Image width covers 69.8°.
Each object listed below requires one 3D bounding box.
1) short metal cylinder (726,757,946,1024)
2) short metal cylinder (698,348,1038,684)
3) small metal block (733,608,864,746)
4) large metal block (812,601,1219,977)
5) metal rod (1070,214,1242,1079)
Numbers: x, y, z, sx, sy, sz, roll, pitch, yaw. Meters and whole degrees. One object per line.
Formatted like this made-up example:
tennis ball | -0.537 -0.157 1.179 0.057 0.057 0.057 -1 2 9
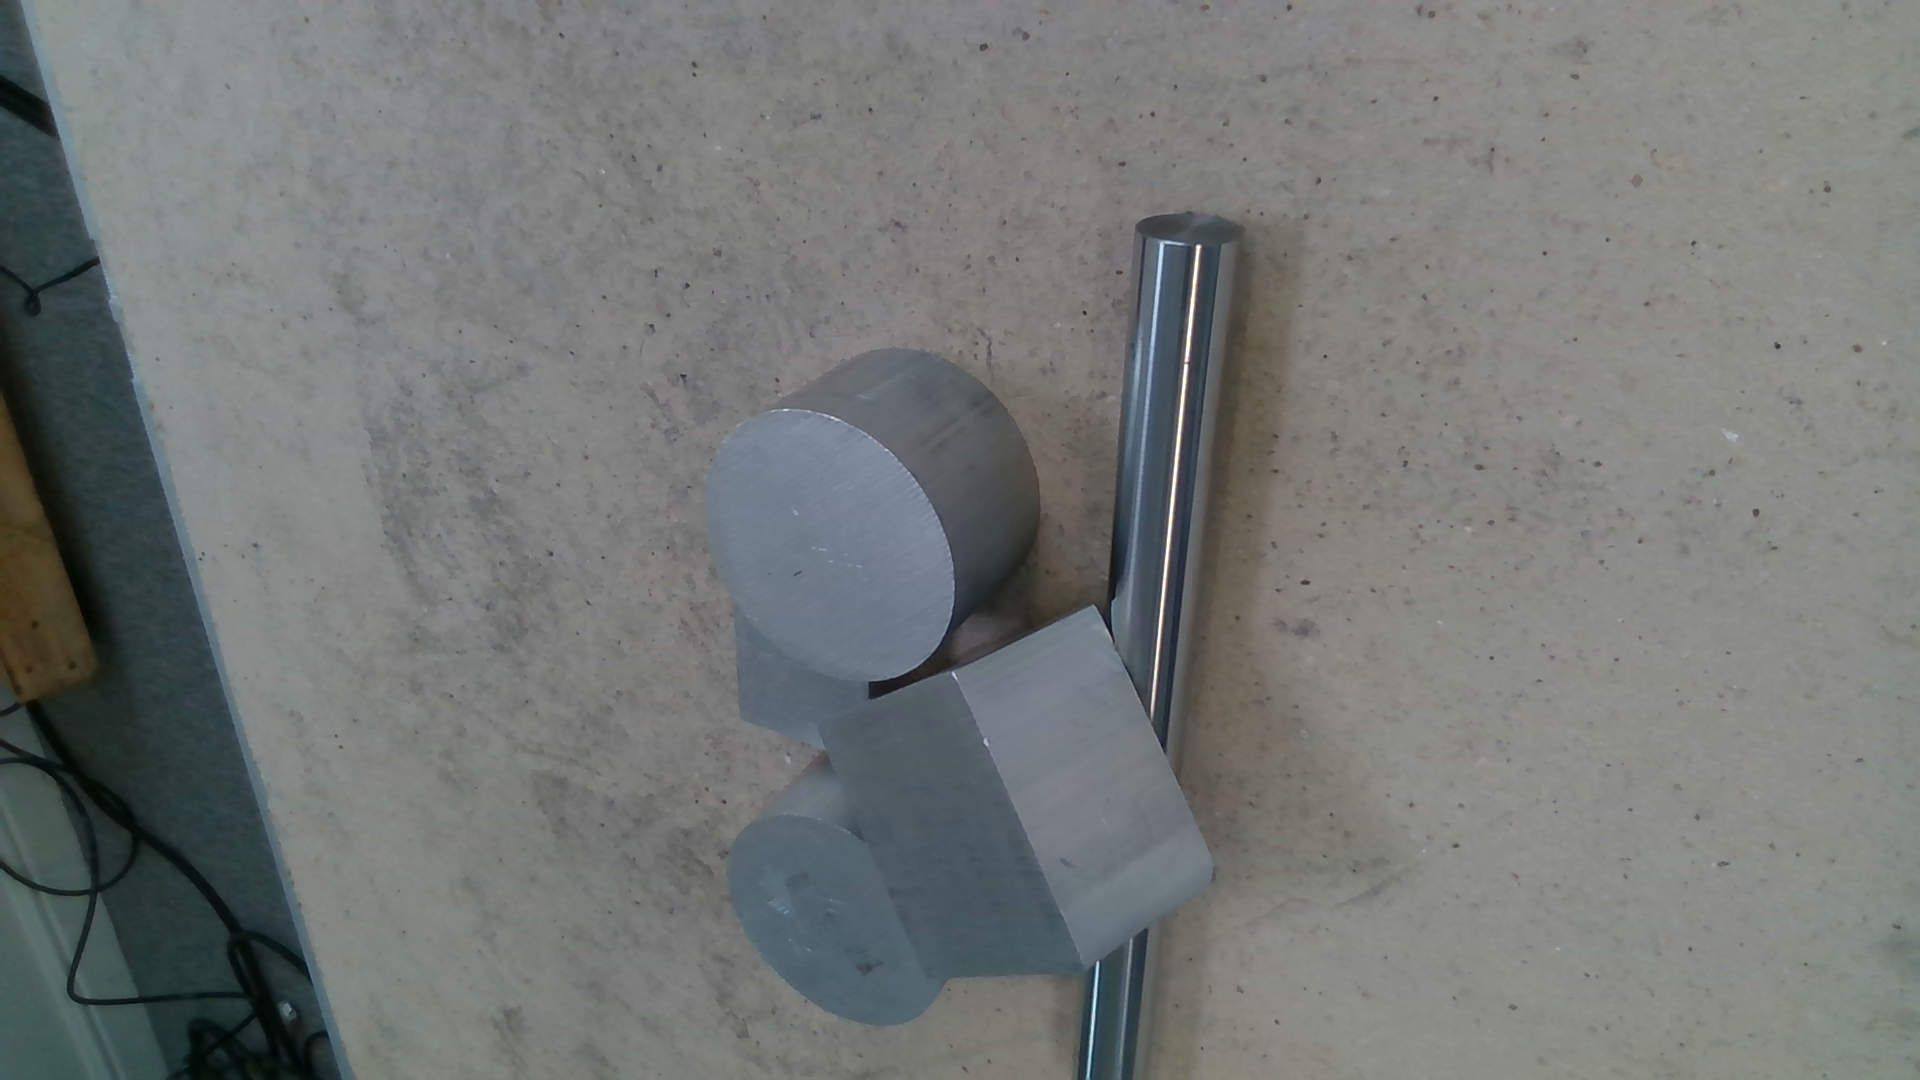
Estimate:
short metal cylinder | -0.029 0.109 0.450 0.080 0.050 0.080 15 122 25
short metal cylinder | -0.025 -0.007 0.384 0.080 0.050 0.080 15 122 25
small metal block | -0.044 0.037 0.437 0.050 0.025 0.050 16 123 24
large metal block | 0.013 0.071 0.382 0.080 0.050 0.080 -28 85 55
metal rod | 0.051 0.060 0.390 0.025 0.025 0.301 15 122 24
